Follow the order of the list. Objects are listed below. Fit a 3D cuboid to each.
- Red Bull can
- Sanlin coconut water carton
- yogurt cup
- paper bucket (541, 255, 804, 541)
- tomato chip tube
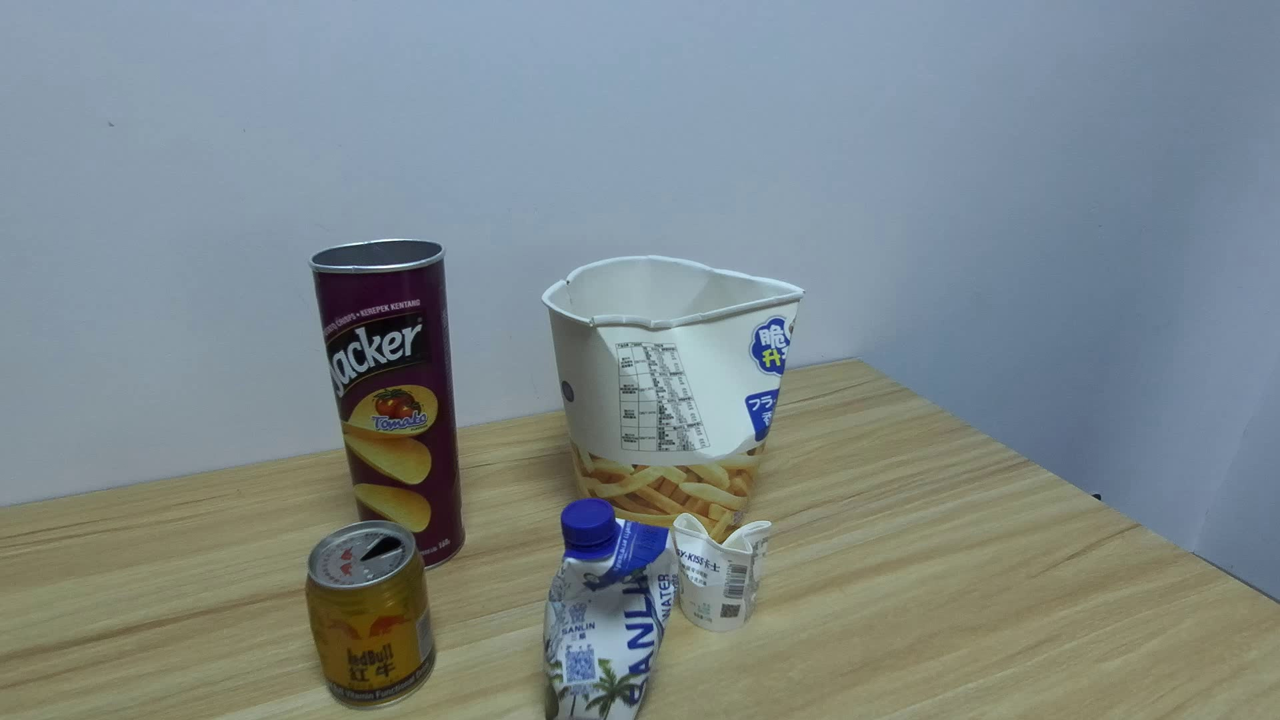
[{"bbox_3d":[-0.161,0.152,0.426,0.068,0.093,0.068,2,23,-1],"label":"Red Bull can"},{"bbox_3d":[-0.017,0.146,0.395,0.068,0.144,0.057,11,32,4],"label":"Sanlin coconut water carton"},{"bbox_3d":[0.054,0.143,0.487,0.054,0.072,0.055,18,33,30],"label":"yogurt cup"},{"bbox_3d":[0.016,0.037,0.568,0.168,0.202,0.163,15,29,34],"label":"paper bucket"},{"bbox_3d":[-0.174,0.037,0.513,0.080,0.234,0.076,5,24,9],"label":"tomato chip tube"}]
